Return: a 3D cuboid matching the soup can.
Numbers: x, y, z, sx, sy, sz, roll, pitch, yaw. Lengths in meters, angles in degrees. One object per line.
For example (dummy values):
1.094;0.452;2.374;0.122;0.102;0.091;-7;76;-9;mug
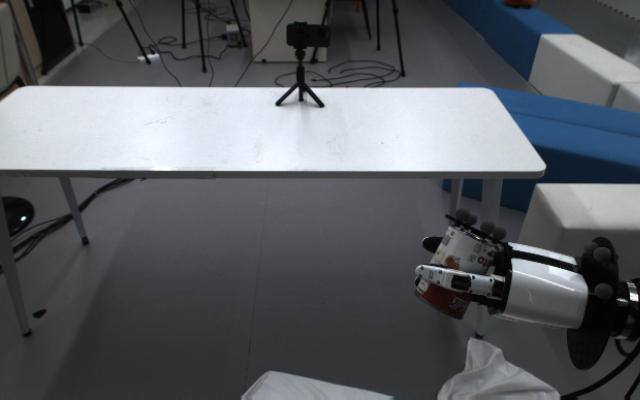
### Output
0.174;0.088;0.609;0.067;0.101;0.067;26;5;-3;soup can
